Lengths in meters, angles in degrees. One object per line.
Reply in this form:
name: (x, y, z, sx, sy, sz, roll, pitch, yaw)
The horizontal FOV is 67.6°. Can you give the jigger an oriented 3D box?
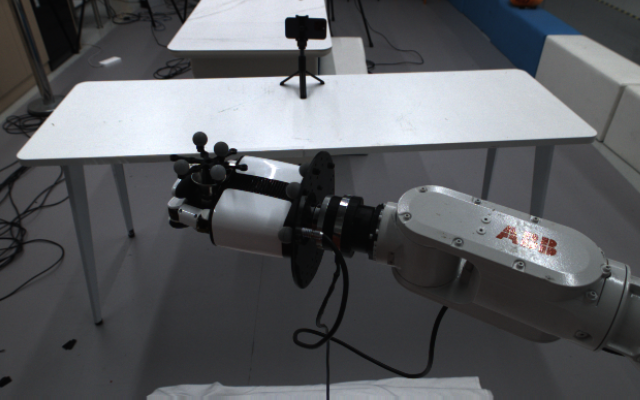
jigger: (-0.131, 0.001, 0.583, 0.043, 0.071, 0.043, 6, 32, -4)
